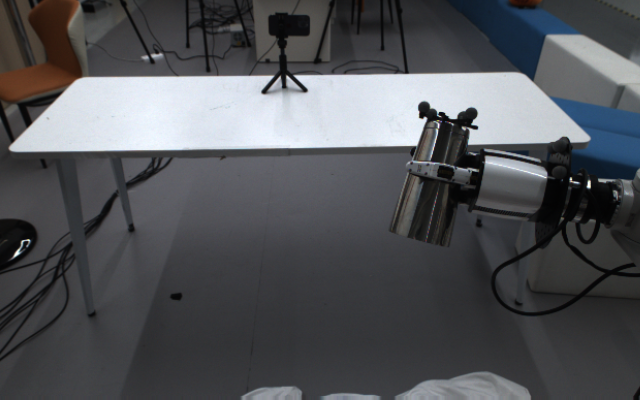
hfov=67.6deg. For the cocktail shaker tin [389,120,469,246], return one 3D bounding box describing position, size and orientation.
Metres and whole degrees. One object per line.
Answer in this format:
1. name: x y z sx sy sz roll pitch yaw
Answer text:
1. cocktail shaker tin: 0.165 -0.027 0.712 0.093 0.170 0.093 14 2 -1
